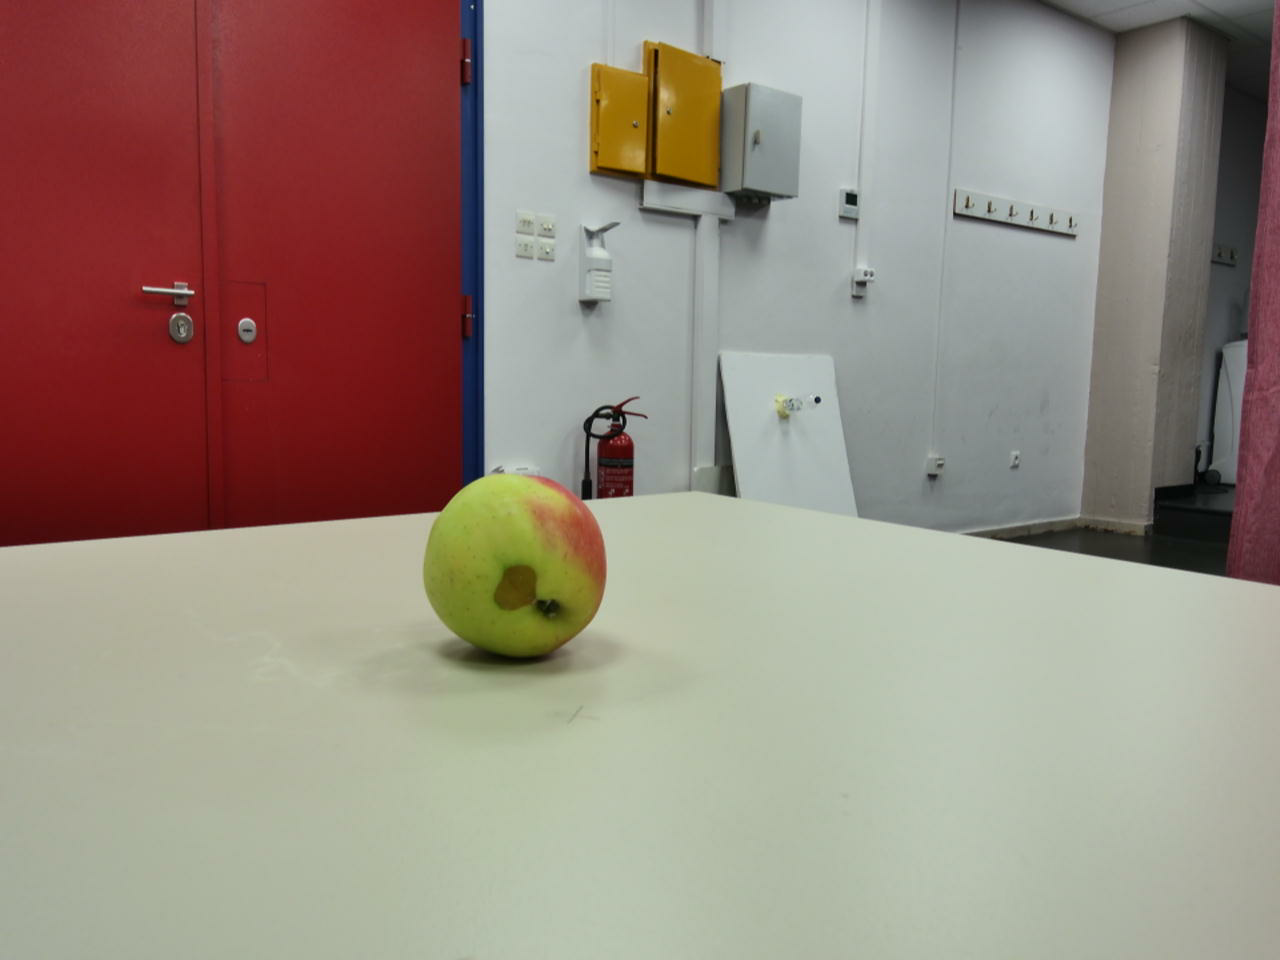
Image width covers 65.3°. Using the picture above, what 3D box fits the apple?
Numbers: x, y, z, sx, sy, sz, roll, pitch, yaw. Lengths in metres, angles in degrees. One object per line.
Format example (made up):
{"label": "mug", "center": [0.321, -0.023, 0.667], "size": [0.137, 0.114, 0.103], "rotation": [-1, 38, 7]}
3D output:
{"label": "apple", "center": [-0.051, 0.035, 0.418], "size": [0.075, 0.074, 0.075], "rotation": [3, 5, 32]}
